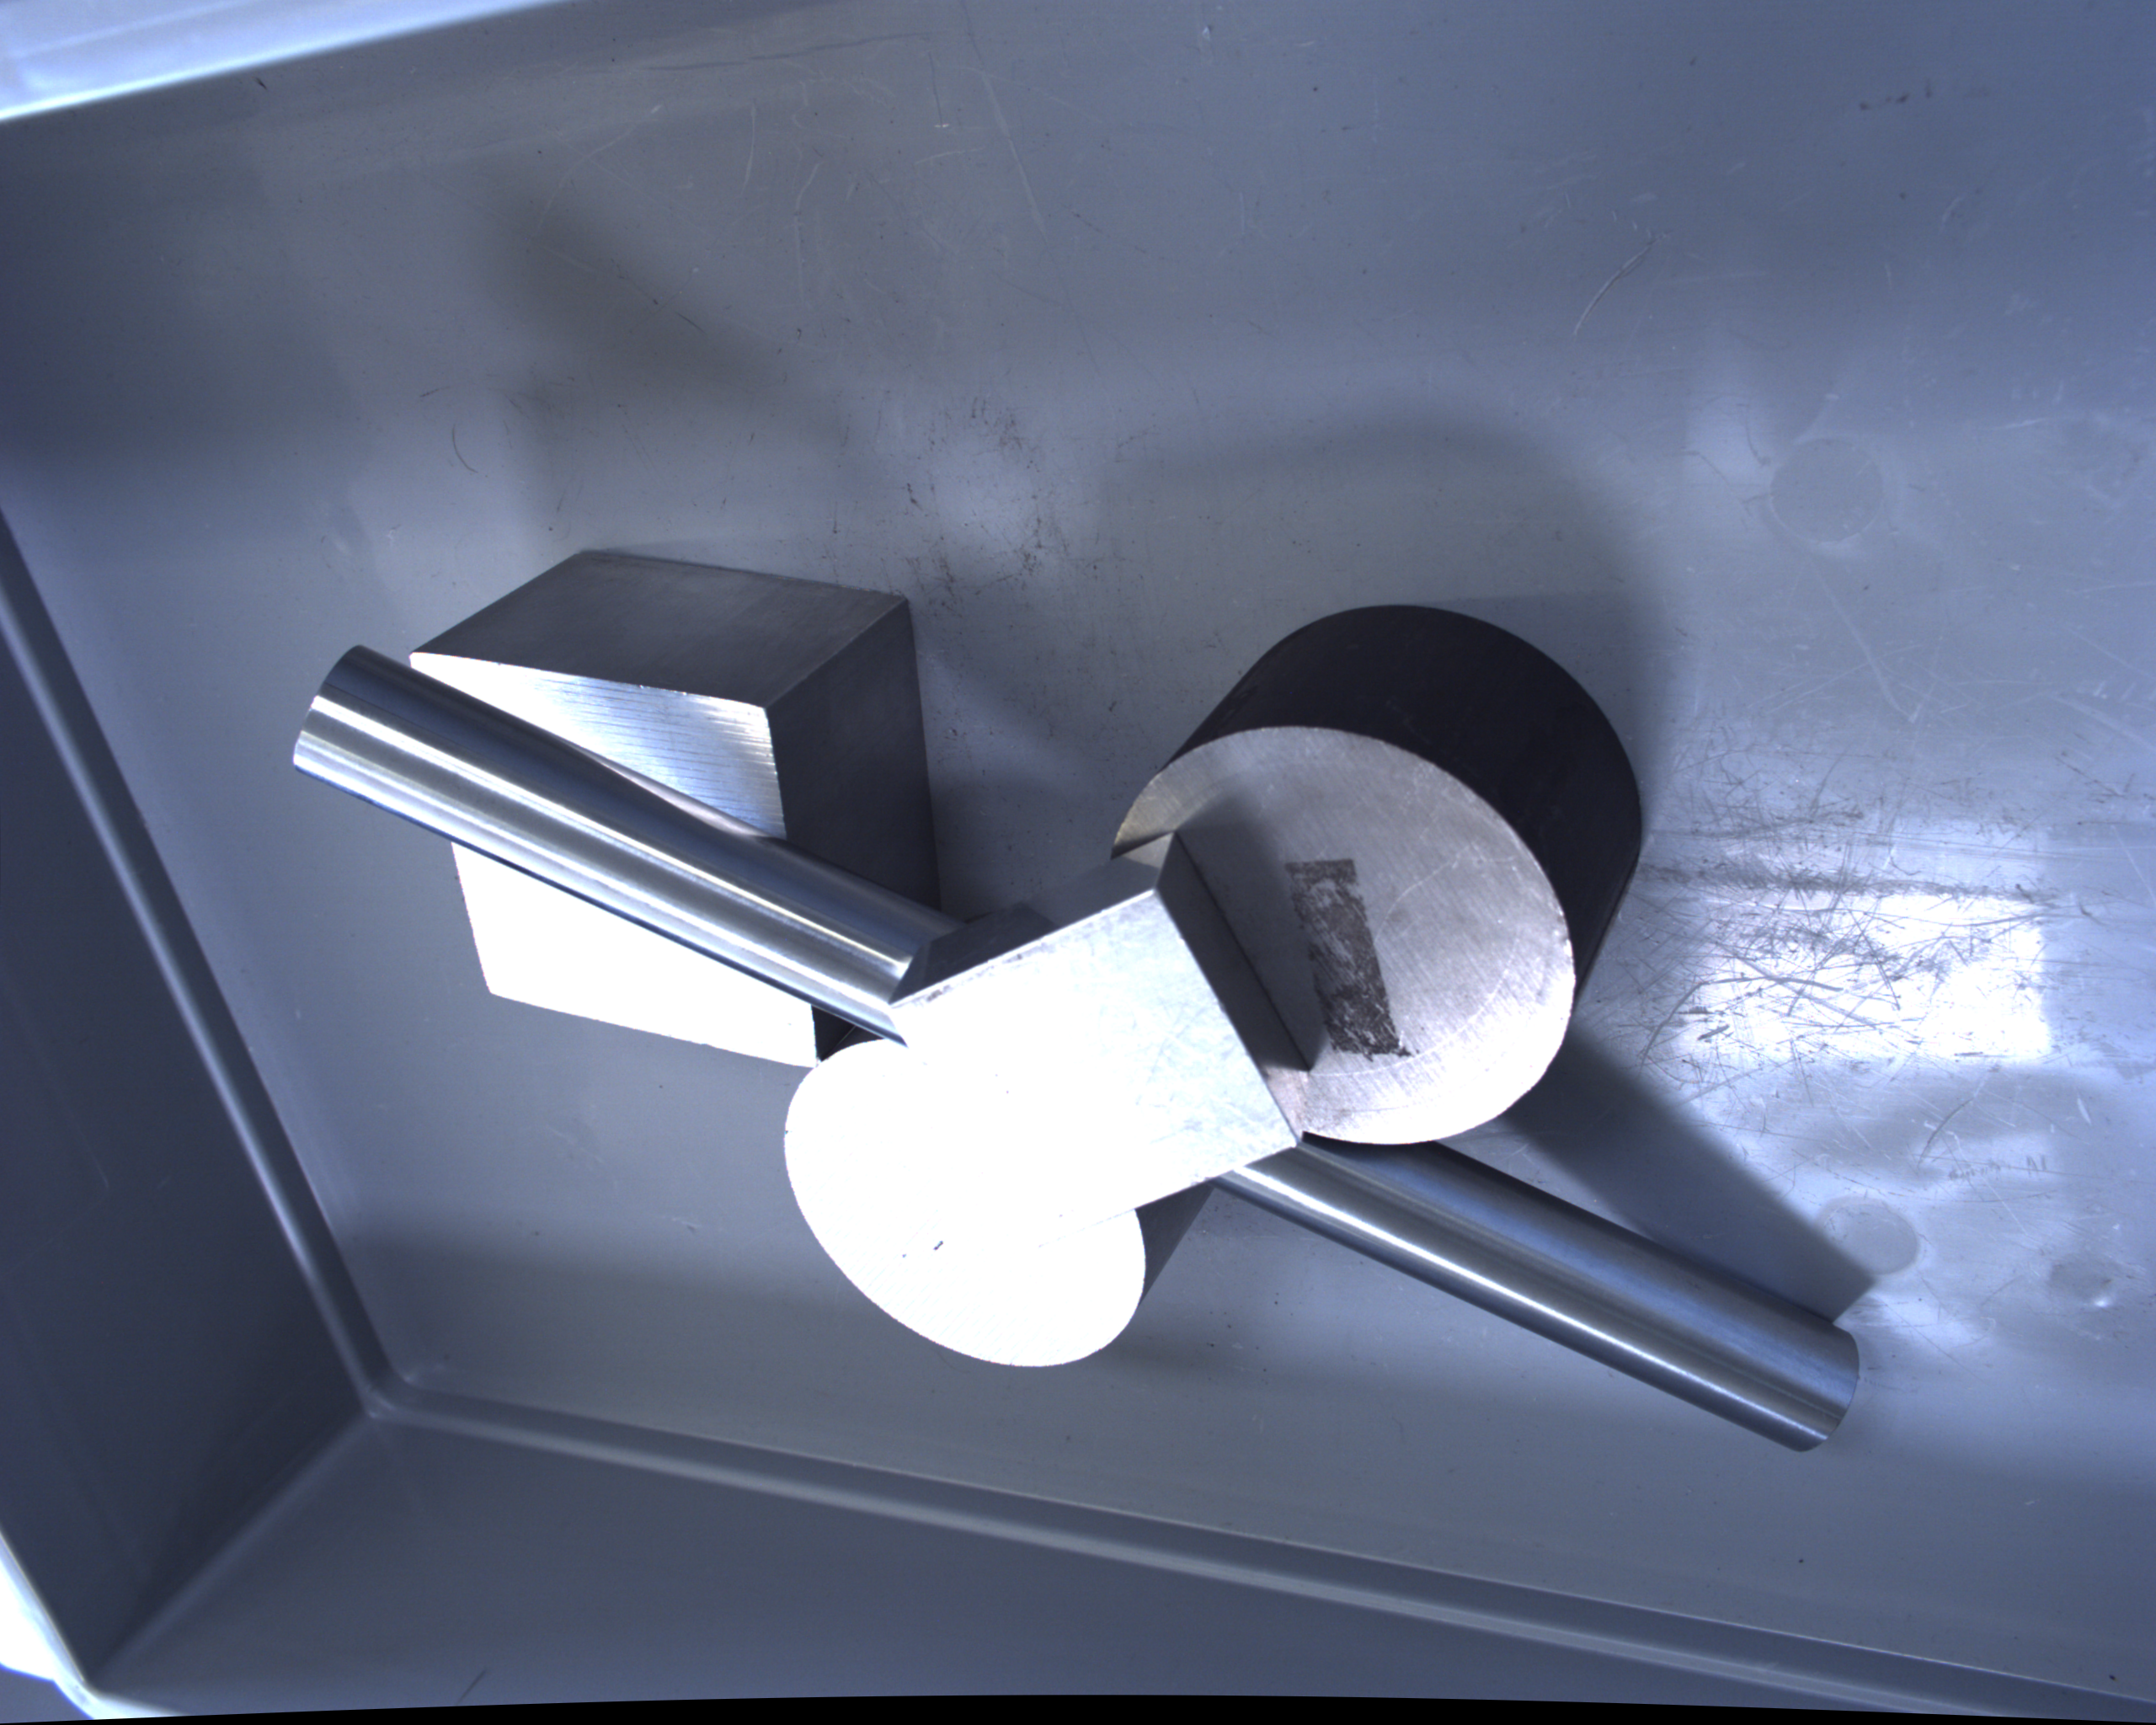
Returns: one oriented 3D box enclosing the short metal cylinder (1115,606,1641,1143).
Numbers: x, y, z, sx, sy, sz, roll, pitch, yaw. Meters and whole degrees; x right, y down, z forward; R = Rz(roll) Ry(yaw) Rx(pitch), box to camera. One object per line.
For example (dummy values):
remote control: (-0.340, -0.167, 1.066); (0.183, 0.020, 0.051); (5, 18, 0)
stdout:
short metal cylinder: (0.052, 0.002, 0.364); (0.080, 0.050, 0.079); (13, 124, 21)

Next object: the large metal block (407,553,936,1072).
large metal block: (-0.079, -0.012, 0.422); (0.080, 0.050, 0.079); (10, 123, 22)

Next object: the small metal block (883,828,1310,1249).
small metal block: (0.004, 0.030, 0.349); (0.050, 0.025, 0.050); (-25, 105, 18)

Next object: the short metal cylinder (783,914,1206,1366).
short metal cylinder: (-0.013, 0.056, 0.432); (0.080, 0.050, 0.079); (13, 124, 21)

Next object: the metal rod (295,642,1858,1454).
metal rod: (0.005, 0.037, 0.381); (0.301, 0.025, 0.025); (25, 129, -6)
